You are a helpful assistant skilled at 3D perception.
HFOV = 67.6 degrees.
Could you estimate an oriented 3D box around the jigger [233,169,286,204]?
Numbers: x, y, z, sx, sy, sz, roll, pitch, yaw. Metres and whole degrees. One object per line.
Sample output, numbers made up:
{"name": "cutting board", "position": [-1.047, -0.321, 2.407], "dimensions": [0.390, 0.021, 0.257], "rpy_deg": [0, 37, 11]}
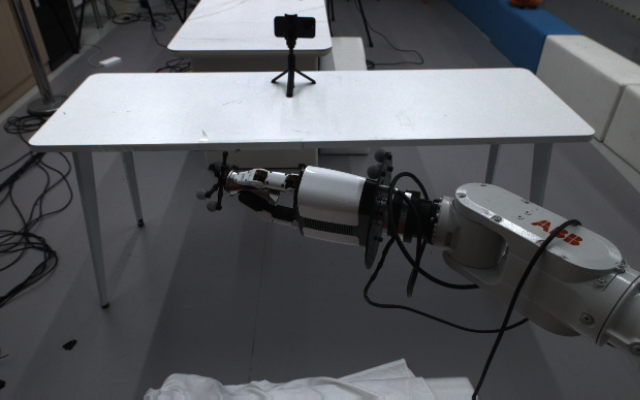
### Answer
{"name": "jigger", "position": [-0.090, -0.024, 0.697], "dimensions": [0.071, 0.043, 0.043], "rpy_deg": [10, 35, 16]}
